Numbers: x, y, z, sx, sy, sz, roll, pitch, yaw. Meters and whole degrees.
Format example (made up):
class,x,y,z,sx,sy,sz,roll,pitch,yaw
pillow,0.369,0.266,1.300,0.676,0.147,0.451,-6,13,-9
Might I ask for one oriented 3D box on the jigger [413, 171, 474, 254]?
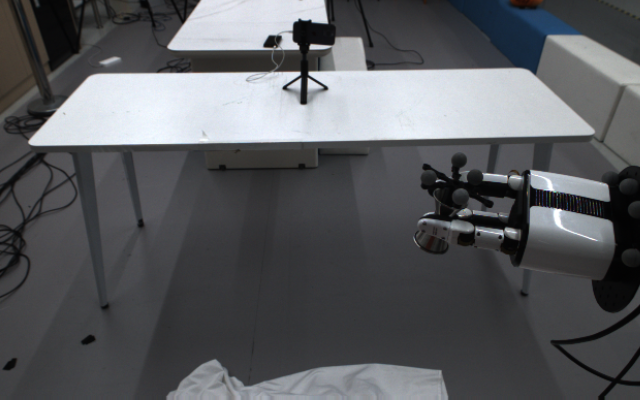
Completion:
class,x,y,z,sx,sy,sz,roll,pitch,yaw
jigger,0.139,0.023,0.566,0.043,0.071,0.043,10,36,-8
